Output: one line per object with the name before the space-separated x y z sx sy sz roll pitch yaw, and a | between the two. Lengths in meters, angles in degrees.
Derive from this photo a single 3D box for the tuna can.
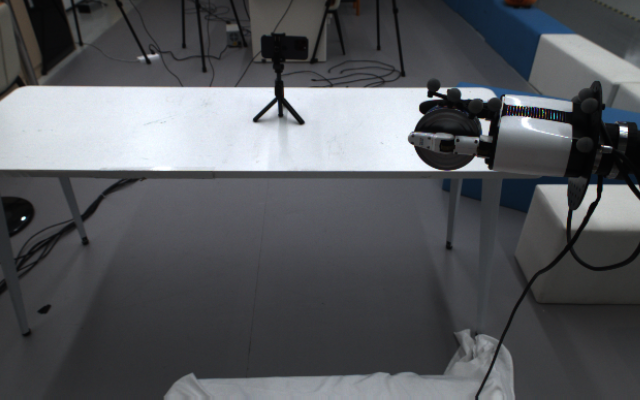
tuna can | 0.172 -0.087 0.647 0.085 0.085 0.034 16 28 19
